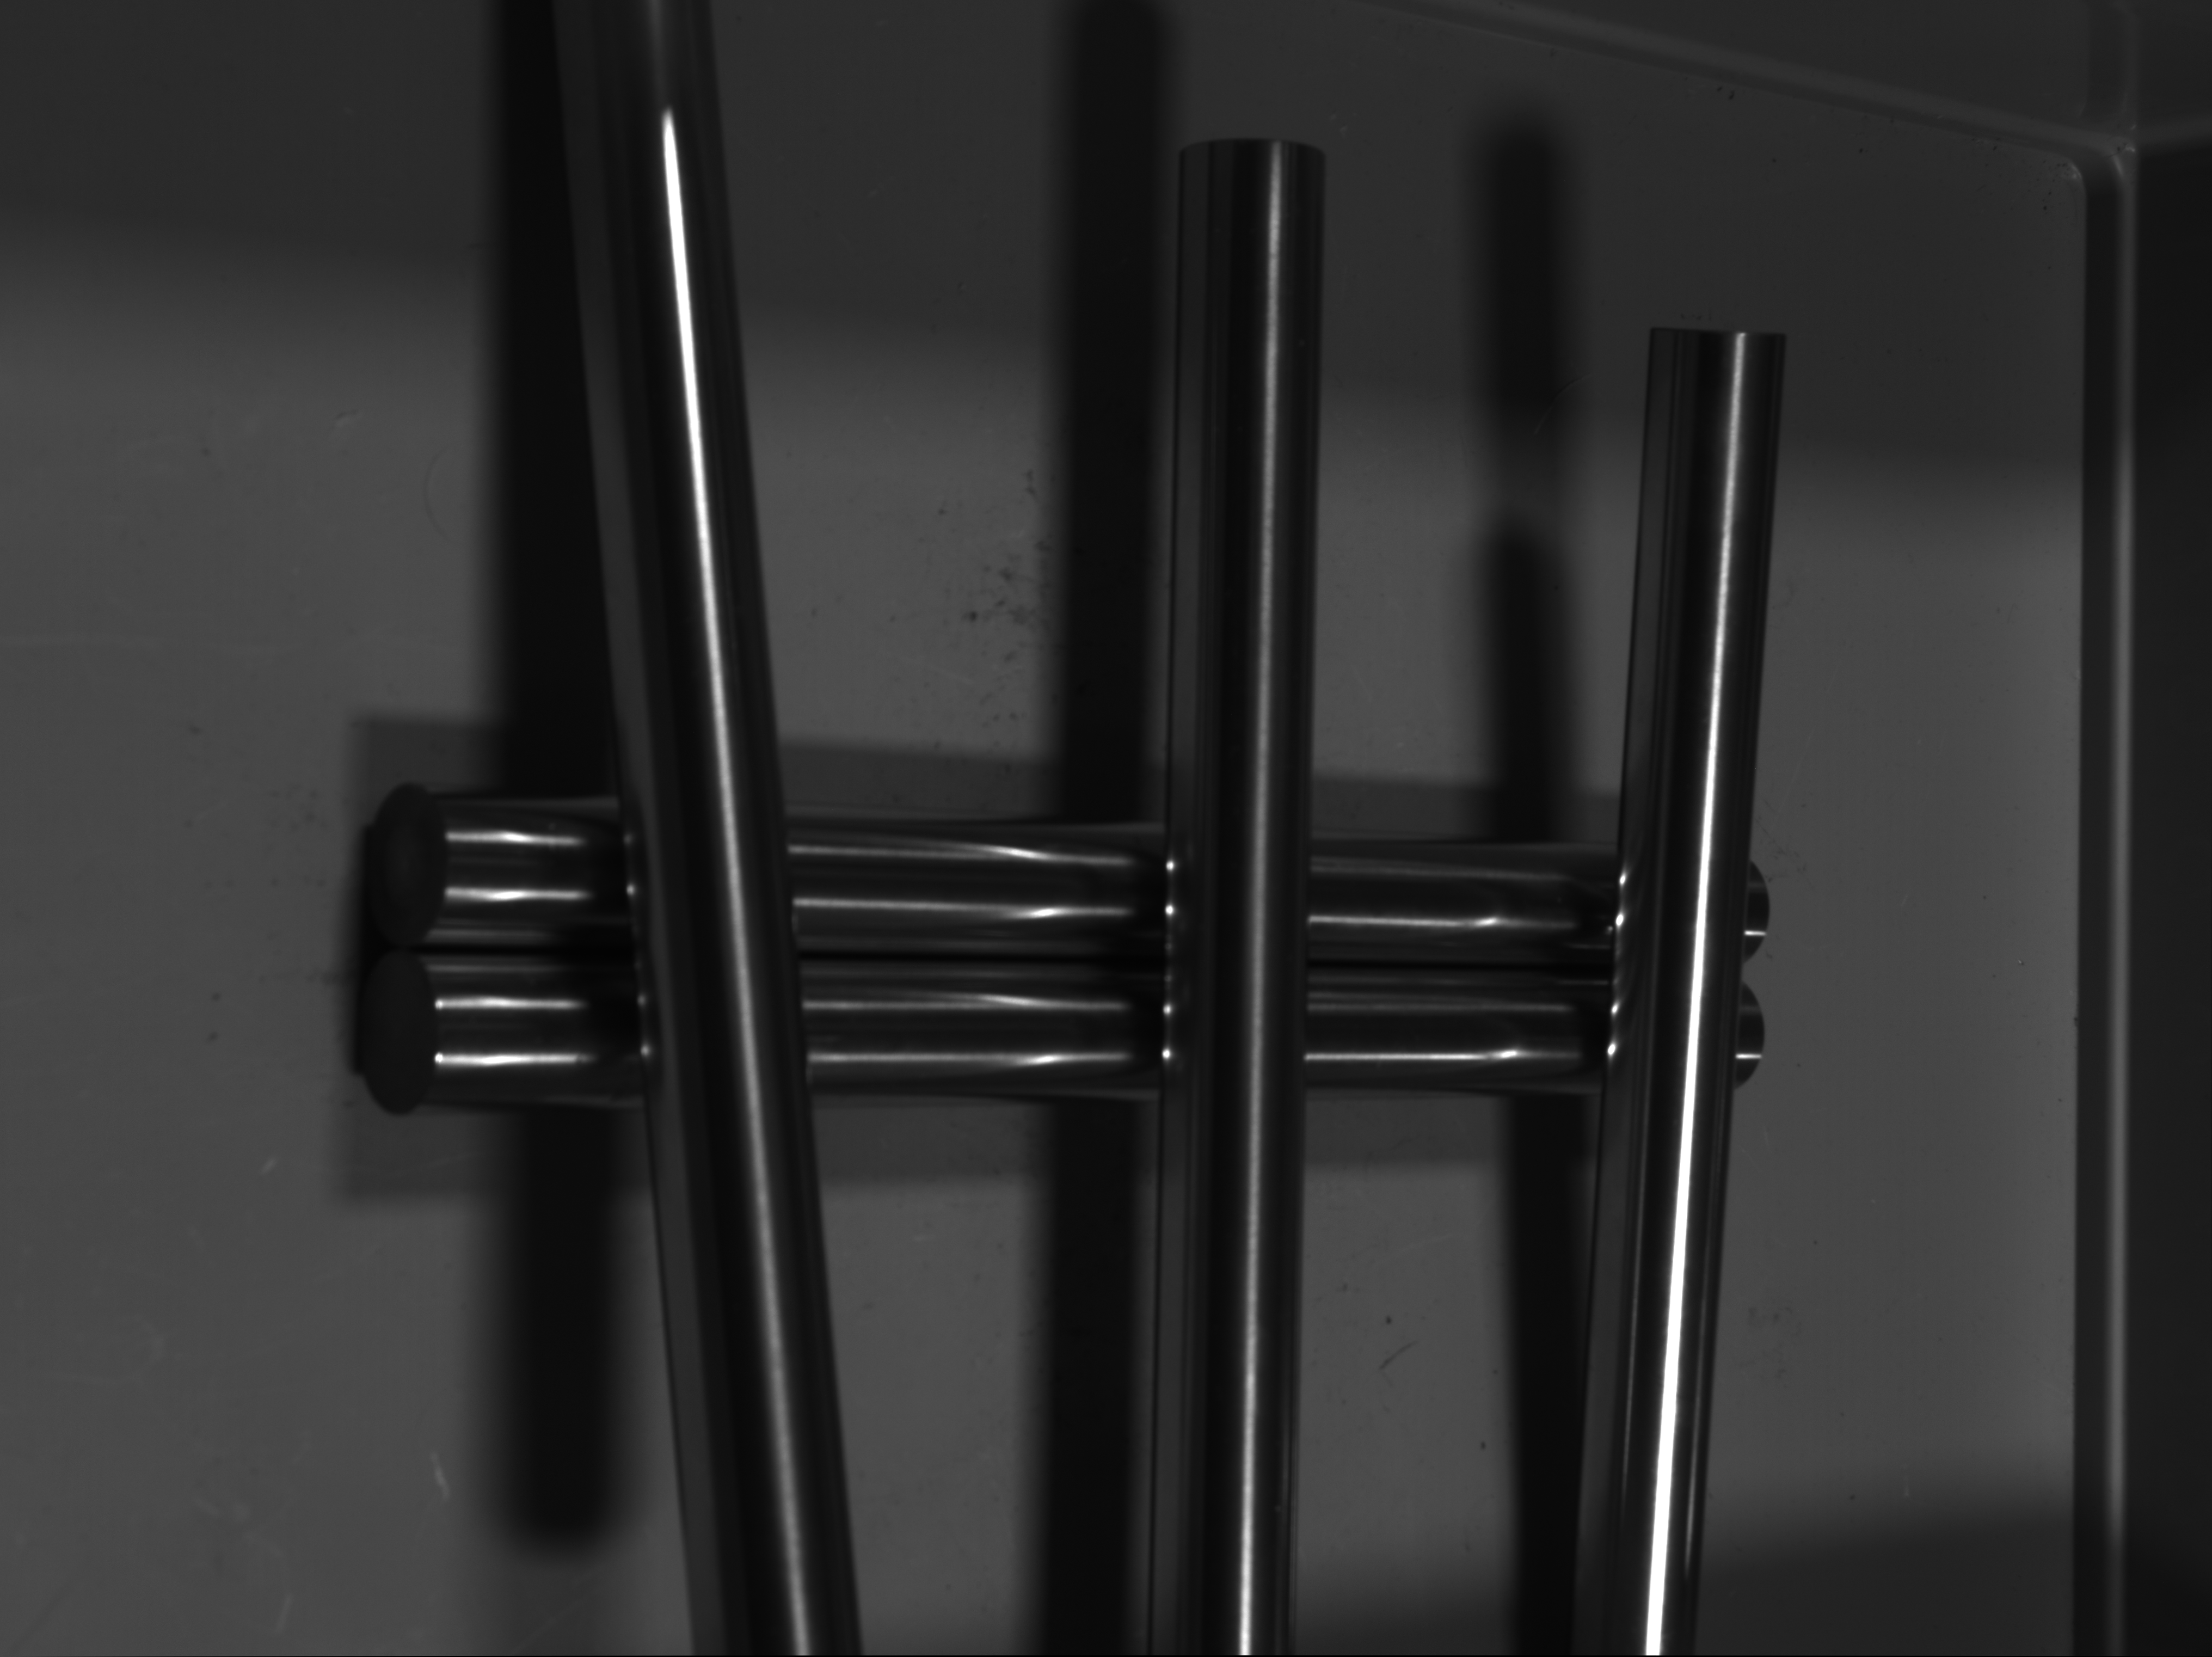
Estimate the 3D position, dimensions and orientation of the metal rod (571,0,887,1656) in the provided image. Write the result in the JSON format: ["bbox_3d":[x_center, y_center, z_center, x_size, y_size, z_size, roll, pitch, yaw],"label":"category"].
[{"bbox_3d":[-0.058,-0.010,0.556,0.025,0.025,0.300,-1,82,-40],"label":"metal rod"}]

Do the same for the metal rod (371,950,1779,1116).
[{"bbox_3d":[0.011,0.036,0.646,0.301,0.025,0.025,3,88,-40],"label":"metal rod"}]

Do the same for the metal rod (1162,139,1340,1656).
[{"bbox_3d":[0.024,0.035,0.624,0.025,0.025,0.300,2,89,-40],"label":"metal rod"}]

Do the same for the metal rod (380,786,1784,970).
[{"bbox_3d":[0.012,0.011,0.647,0.301,0.025,0.025,3,88,-40],"label":"metal rod"}]

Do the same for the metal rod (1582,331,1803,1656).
[{"bbox_3d":[0.110,0.057,0.698,0.025,0.025,0.300,-5,101,-40],"label":"metal rod"}]
